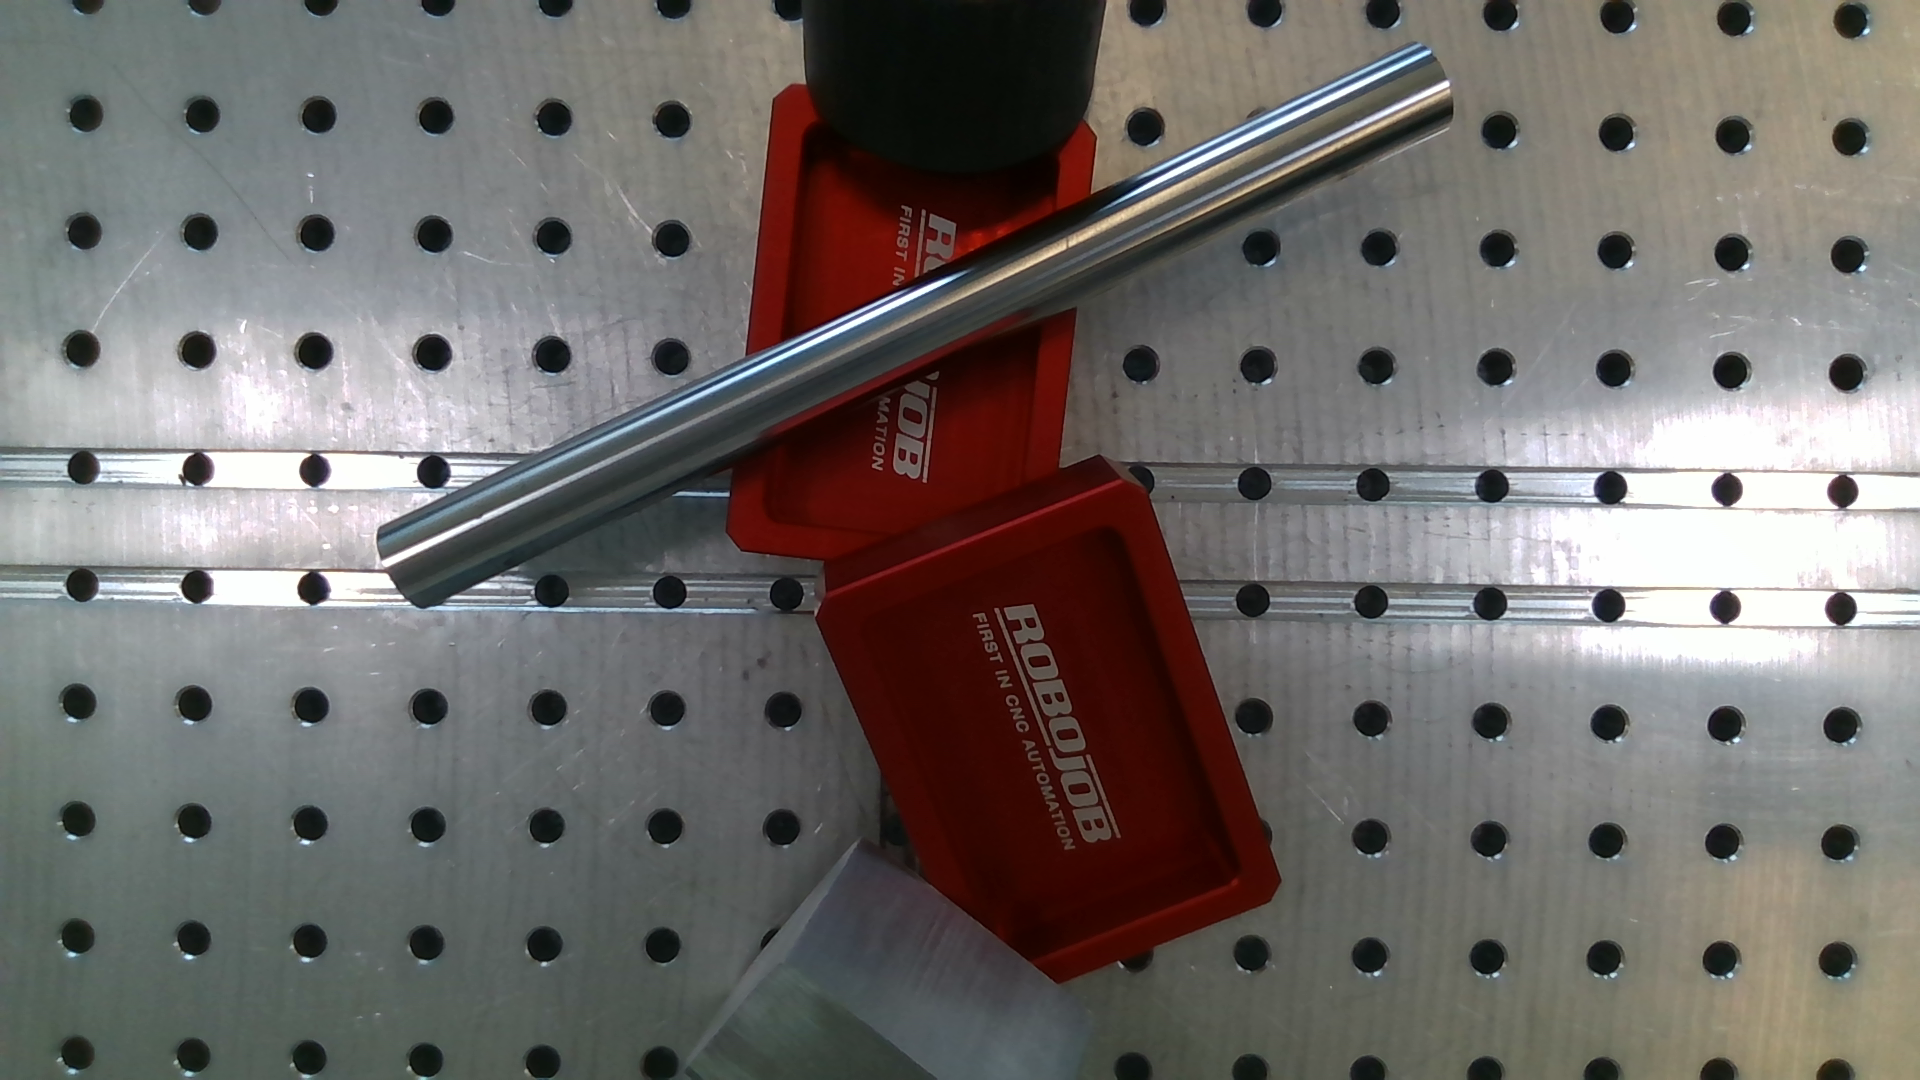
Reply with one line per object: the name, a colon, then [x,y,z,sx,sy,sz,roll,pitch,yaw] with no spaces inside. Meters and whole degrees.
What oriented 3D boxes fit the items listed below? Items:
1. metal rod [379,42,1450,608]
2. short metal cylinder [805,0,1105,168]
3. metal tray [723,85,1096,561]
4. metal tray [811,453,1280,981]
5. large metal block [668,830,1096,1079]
metal rod: [-0.012,-0.057,0.367,0.300,0.025,0.025,-25,90,0]
short metal cylinder: [-0.002,-0.146,0.367,0.080,0.050,0.080,2,55,-3]
metal tray: [-0.014,-0.056,0.395,0.090,0.030,0.130,7,90,0]
metal tray: [0.024,0.053,0.377,0.090,0.030,0.130,-21,107,0]
large metal block: [-0.024,0.140,0.368,0.080,0.050,0.080,38,121,0]
